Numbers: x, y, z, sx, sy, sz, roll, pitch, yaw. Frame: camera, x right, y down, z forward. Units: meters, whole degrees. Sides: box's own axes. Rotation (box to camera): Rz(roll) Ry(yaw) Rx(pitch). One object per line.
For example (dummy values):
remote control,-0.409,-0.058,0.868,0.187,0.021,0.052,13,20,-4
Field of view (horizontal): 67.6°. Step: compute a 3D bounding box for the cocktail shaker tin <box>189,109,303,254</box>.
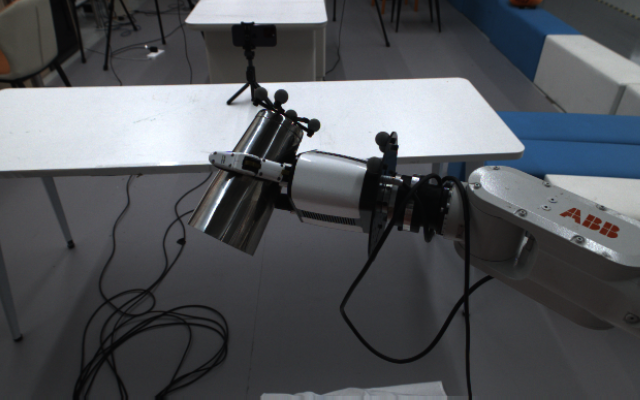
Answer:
cocktail shaker tin,-0.086,-0.028,0.614,0.093,0.093,0.170,21,81,25
